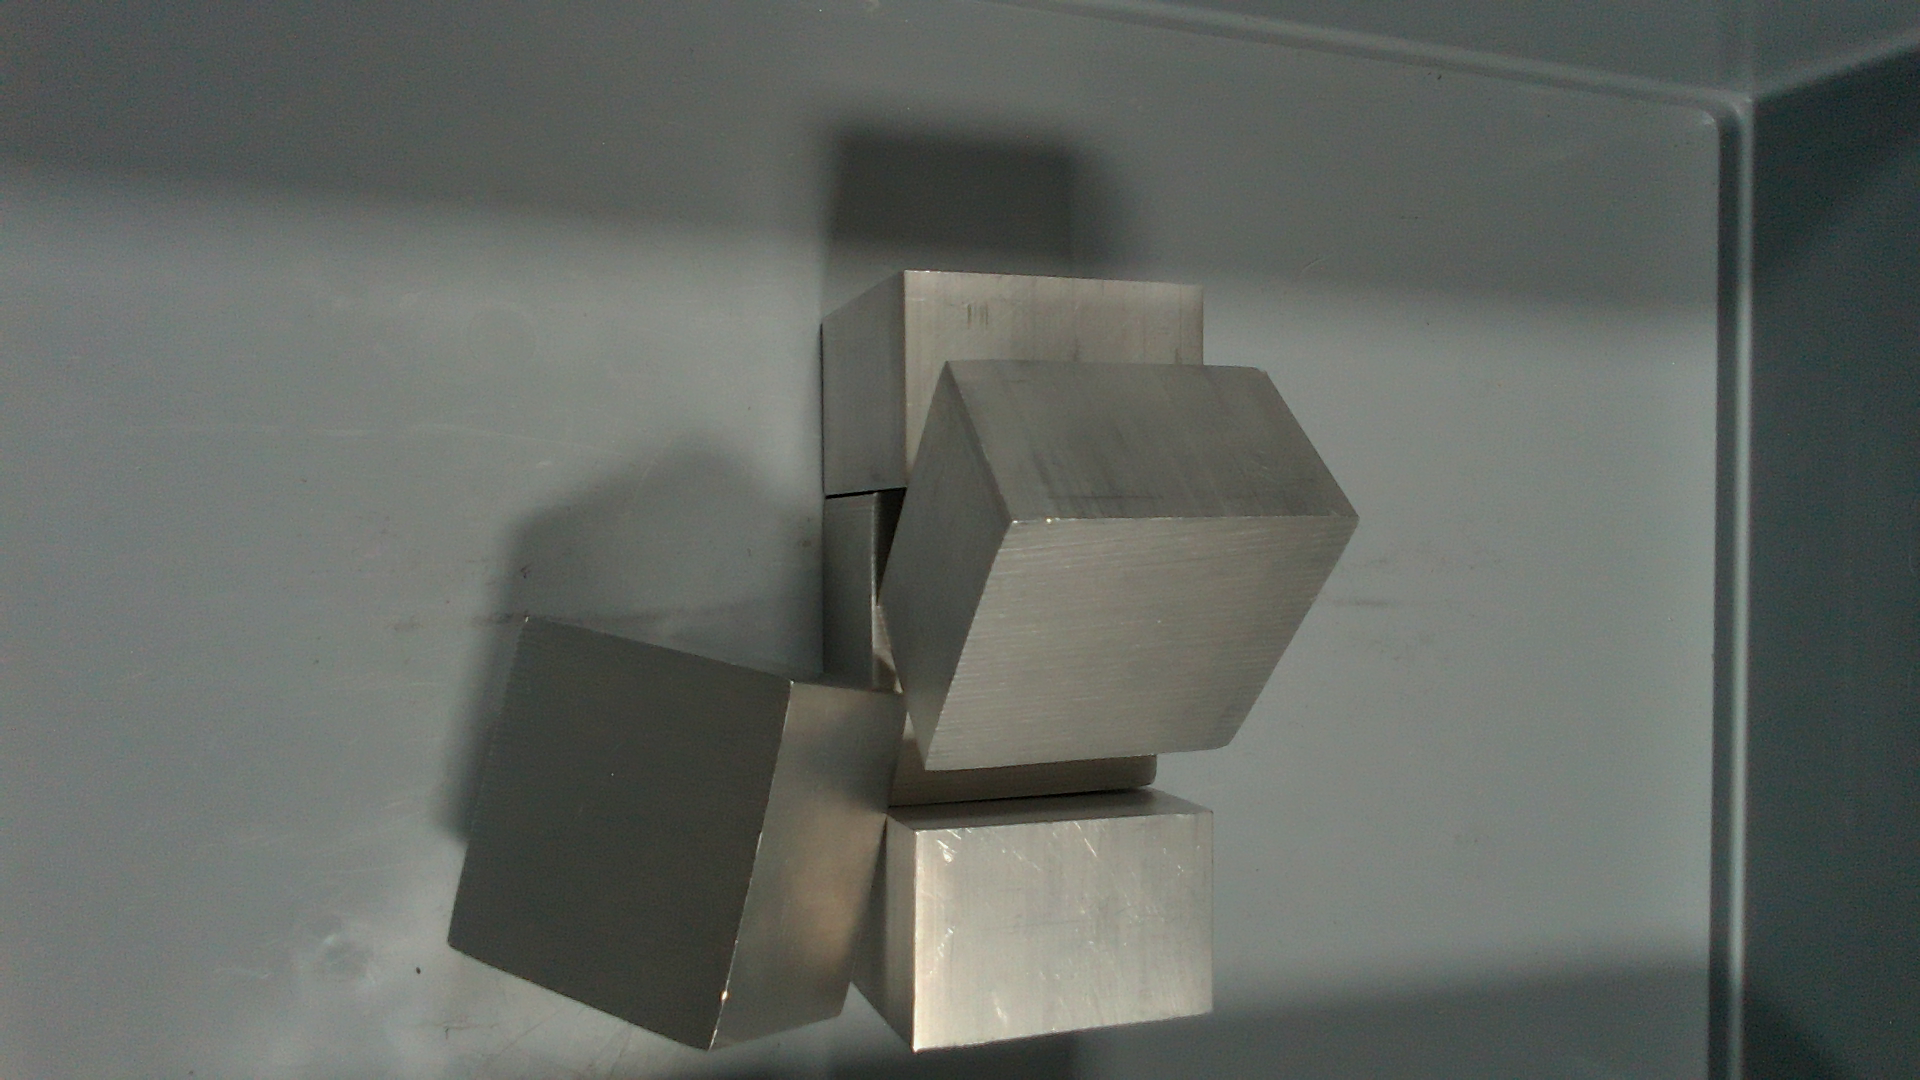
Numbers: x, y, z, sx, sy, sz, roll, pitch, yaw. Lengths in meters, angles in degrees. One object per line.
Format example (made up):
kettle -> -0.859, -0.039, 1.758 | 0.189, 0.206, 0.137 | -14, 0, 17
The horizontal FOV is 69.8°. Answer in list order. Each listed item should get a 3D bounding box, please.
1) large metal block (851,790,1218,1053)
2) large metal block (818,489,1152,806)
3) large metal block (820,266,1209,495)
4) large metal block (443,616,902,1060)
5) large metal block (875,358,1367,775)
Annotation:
large metal block -> 0.013, 0.093, 0.367 | 0.080, 0.080, 0.050 | 0, 90, -20
large metal block -> 0.006, 0.027, 0.383 | 0.080, 0.050, 0.080 | -1, 90, -20
large metal block -> 0.011, -0.039, 0.366 | 0.080, 0.080, 0.050 | -1, 91, -20
large metal block -> -0.067, 0.067, 0.330 | 0.050, 0.080, 0.080 | 19, 82, -62
large metal block -> 0.032, 0.007, 0.315 | 0.080, 0.080, 0.050 | -1, 45, -20
